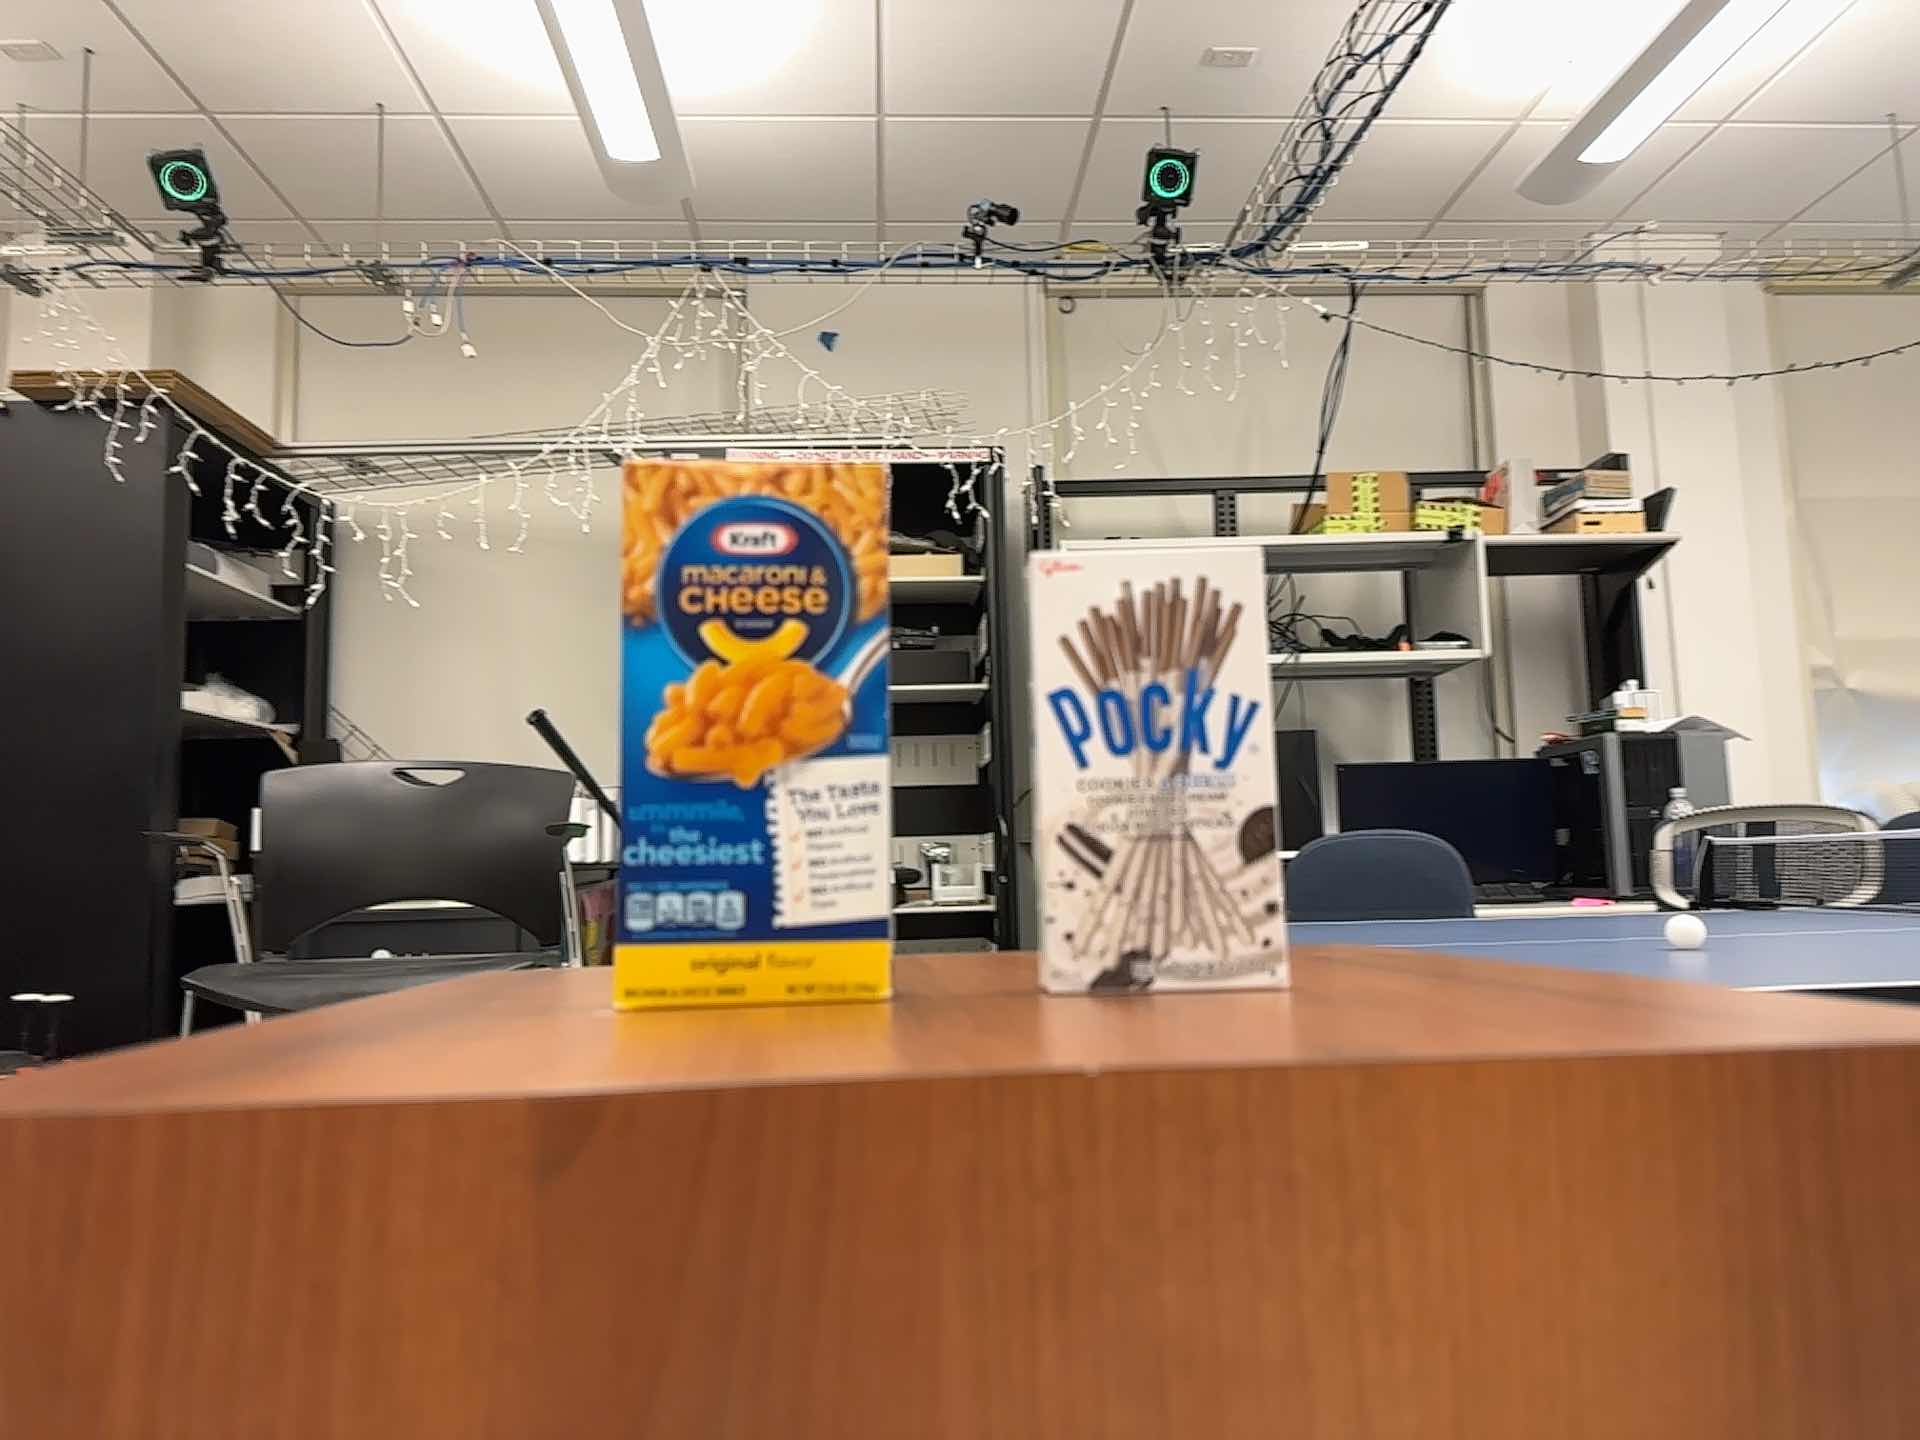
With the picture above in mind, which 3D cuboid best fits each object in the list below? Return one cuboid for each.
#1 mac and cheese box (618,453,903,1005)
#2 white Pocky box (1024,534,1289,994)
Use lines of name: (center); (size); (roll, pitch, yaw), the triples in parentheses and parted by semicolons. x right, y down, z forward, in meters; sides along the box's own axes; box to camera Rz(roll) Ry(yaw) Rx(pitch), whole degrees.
mac and cheese box: (-0.068, 0.002, 0.462); (0.088, 0.181, 0.035); (-2, -8, 0)
white Pocky box: (0.066, 0.015, 0.460); (0.084, 0.154, 0.028); (-2, -7, 3)
